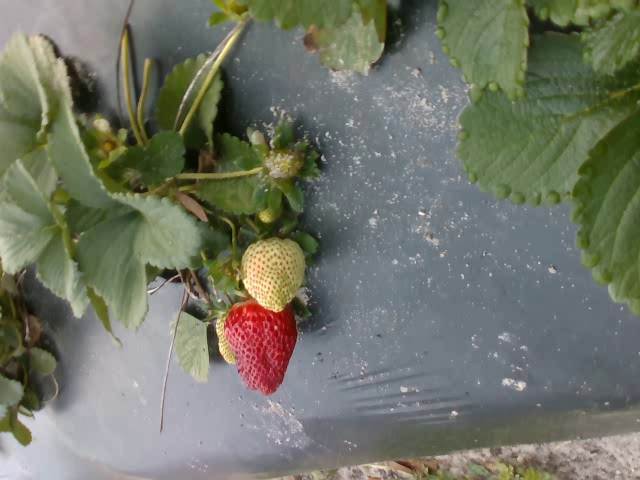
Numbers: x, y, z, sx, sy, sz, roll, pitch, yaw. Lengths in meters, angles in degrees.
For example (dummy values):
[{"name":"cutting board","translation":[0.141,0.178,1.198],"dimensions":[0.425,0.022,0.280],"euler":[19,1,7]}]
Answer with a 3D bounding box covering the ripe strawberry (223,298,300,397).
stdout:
[{"name":"ripe strawberry","translation":[-0.028,0.058,0.335],"dimensions":[0.045,0.059,0.046],"euler":[3,-16,-36]}]
